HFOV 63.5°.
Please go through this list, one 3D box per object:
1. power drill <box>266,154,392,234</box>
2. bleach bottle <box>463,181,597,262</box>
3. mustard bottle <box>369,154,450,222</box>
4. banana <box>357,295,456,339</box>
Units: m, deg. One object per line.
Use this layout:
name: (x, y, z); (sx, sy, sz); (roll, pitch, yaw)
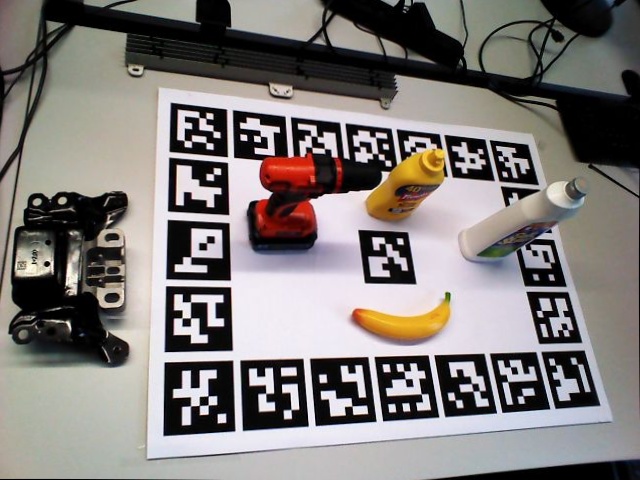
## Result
power drill: (-0.001, -0.070, 0.782); (0.184, 0.188, 0.057); (-4, 70, -17)
bleach bottle: (0.361, -0.034, 0.893); (0.102, 0.252, 0.067); (11, 66, -16)
mustard bottle: (0.165, -0.092, 0.884); (0.096, 0.193, 0.058); (-4, 71, -23)
banana: (0.156, 0.130, 0.866); (0.197, 0.039, 0.074); (-3, 72, -17)
